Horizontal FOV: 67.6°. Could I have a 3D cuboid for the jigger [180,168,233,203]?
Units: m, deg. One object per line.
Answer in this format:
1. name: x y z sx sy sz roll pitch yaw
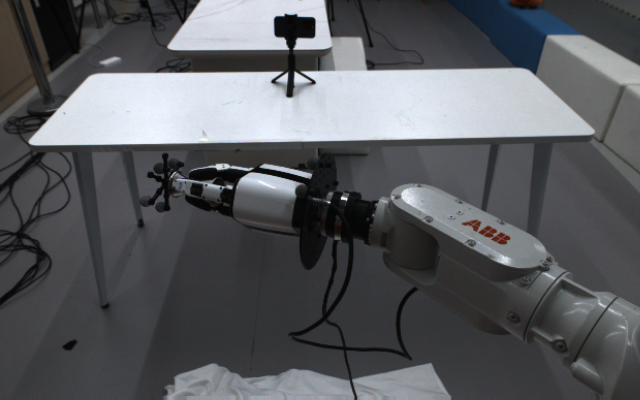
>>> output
1. jigger: -0.171 -0.021 0.693 0.071 0.043 0.043 10 35 16
